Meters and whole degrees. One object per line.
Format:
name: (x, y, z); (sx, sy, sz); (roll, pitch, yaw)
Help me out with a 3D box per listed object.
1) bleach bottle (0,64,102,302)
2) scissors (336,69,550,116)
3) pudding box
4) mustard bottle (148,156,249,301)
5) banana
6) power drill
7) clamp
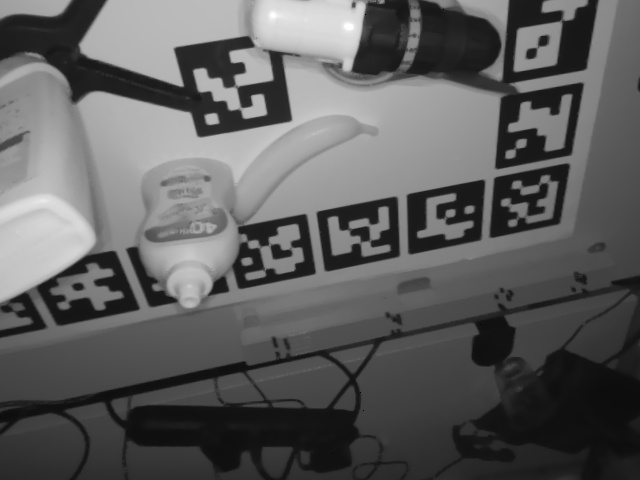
bleach bottle: (-0.232, -0.070, 0.552); (0.102, 0.251, 0.068); (-28, 133, 2)
scissors: (0.118, -0.141, 0.613); (0.204, 0.016, 0.086); (13, 120, -16)
pudding box: (0.099, -0.185, 0.657); (0.114, 0.090, 0.038); (-6, 136, -7)
mustard bottle: (-0.120, -0.011, 0.687); (0.097, 0.192, 0.058); (2, 128, -12)
banana: (-0.022, -0.059, 0.756); (0.195, 0.039, 0.075); (-42, 142, 19)
power drill: (0.045, -0.191, 0.540); (0.186, 0.188, 0.056); (-1, 135, -15)
clamp: (-0.216, -0.153, 0.626); (0.203, 0.037, 0.164); (-14, 128, 1)
